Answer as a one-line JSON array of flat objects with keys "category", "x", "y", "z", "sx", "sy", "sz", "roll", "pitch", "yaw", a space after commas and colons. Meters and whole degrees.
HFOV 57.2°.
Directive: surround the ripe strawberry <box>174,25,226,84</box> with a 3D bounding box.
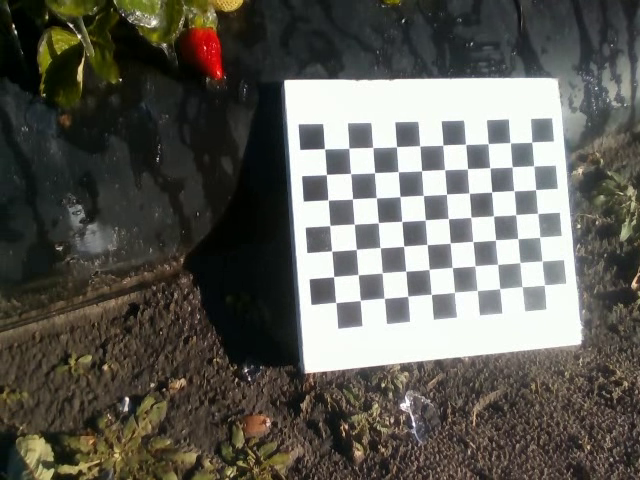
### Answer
[{"category": "ripe strawberry", "x": -0.101, "y": -0.167, "z": 0.522, "sx": 0.041, "sy": 0.052, "sz": 0.040, "roll": -22, "pitch": -6, "yaw": -14}]
